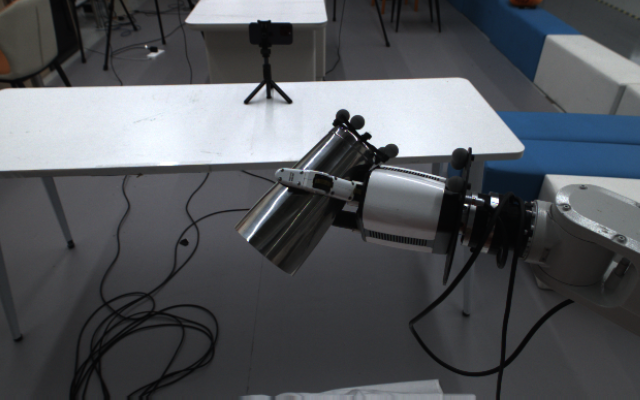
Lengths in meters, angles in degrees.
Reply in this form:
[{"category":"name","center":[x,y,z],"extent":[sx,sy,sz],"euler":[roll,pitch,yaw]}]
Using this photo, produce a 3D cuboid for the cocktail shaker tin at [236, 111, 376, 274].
[{"category":"cocktail shaker tin","center":[-0.011,-0.004,0.581],"extent":[0.170,0.093,0.093],"euler":[-48,49,-4]}]
